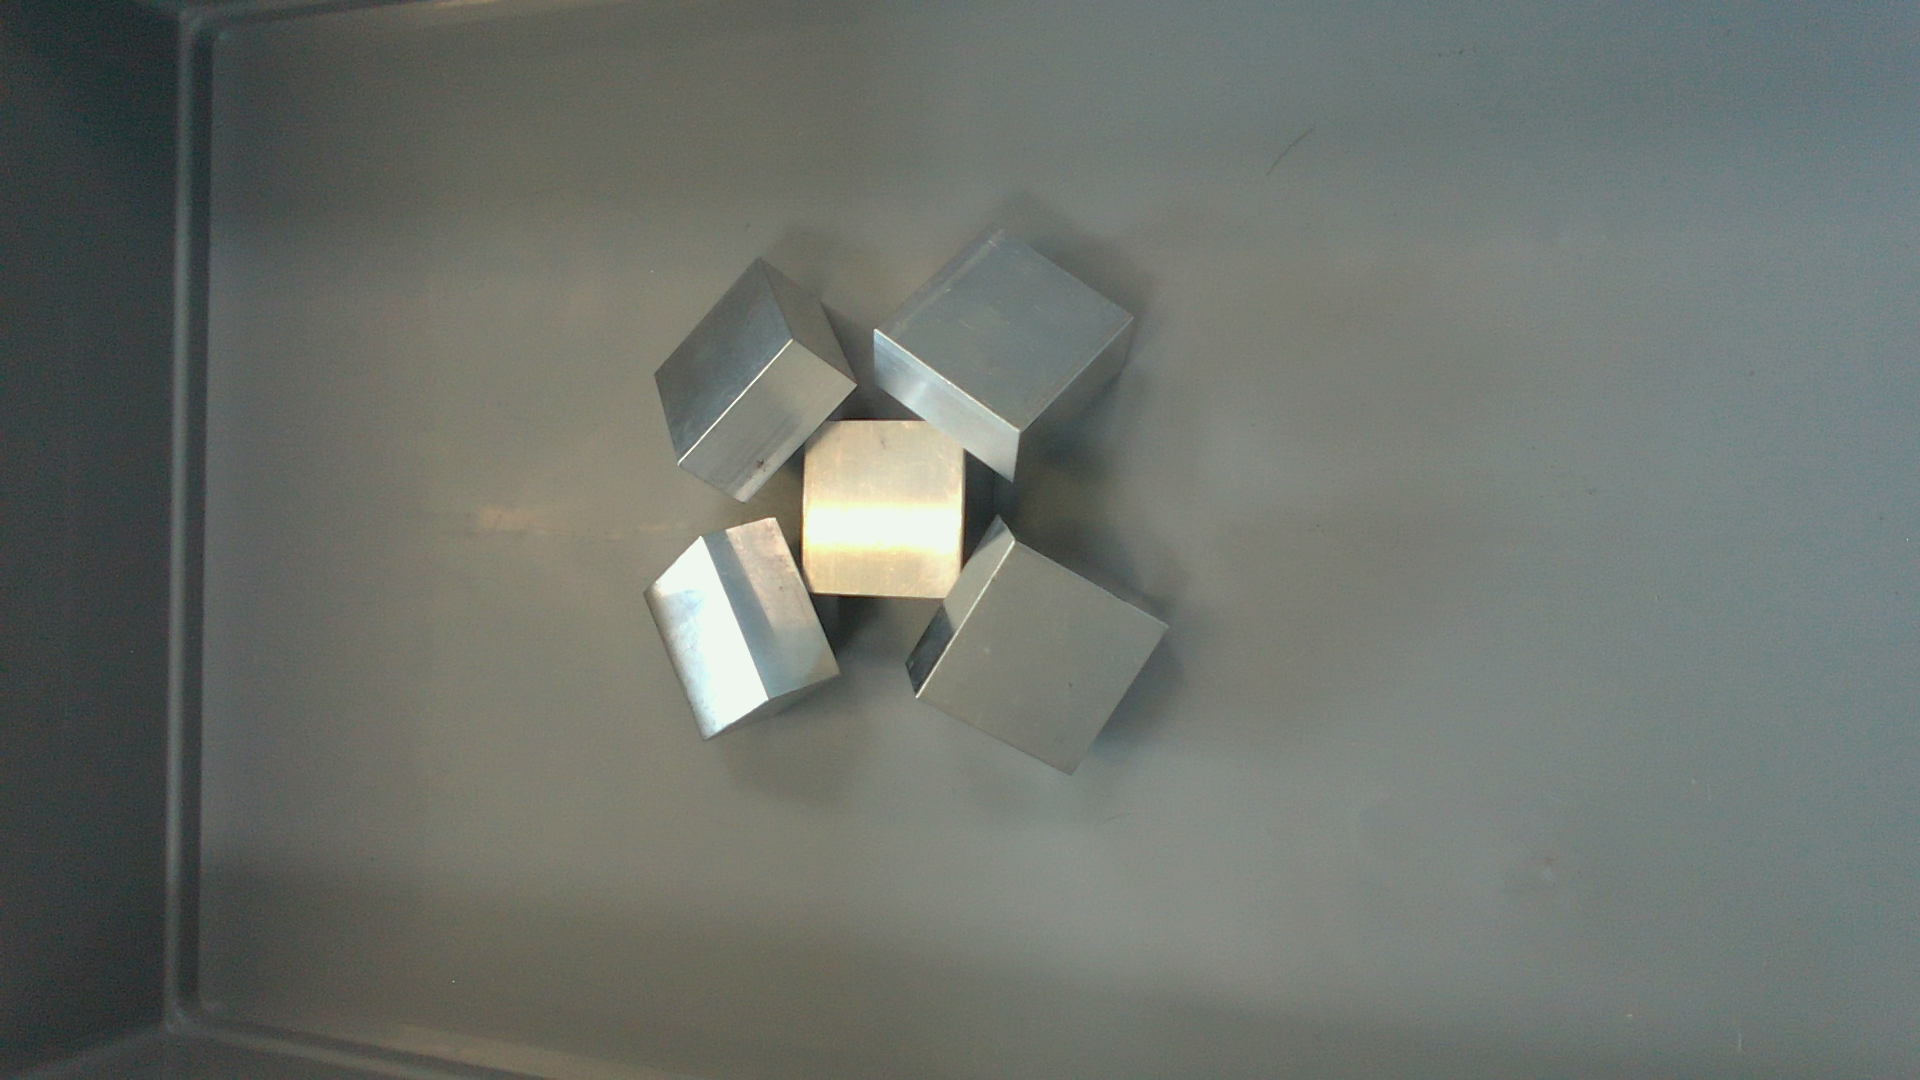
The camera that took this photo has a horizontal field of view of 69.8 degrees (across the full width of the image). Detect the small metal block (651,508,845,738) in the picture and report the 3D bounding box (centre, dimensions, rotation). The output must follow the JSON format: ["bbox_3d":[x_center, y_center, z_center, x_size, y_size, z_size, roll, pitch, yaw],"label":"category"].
[{"bbox_3d":[-0.064,0.025,0.405,0.050,0.025,0.050,-37,75,55],"label":"small metal block"}]

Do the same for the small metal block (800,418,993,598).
[{"bbox_3d":[-0.018,-0.010,0.400,0.050,0.025,0.050,2,91,20],"label":"small metal block"}]

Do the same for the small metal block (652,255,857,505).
[{"bbox_3d":[-0.062,-0.047,0.403,0.050,0.025,0.050,-45,39,15],"label":"small metal block"}]

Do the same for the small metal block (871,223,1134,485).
[{"bbox_3d":[0.011,-0.052,0.377,0.050,0.025,0.050,37,65,16],"label":"small metal block"}]

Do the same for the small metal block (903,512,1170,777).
[{"bbox_3d":[0.020,0.028,0.375,0.050,0.025,0.050,28,101,-17],"label":"small metal block"}]
